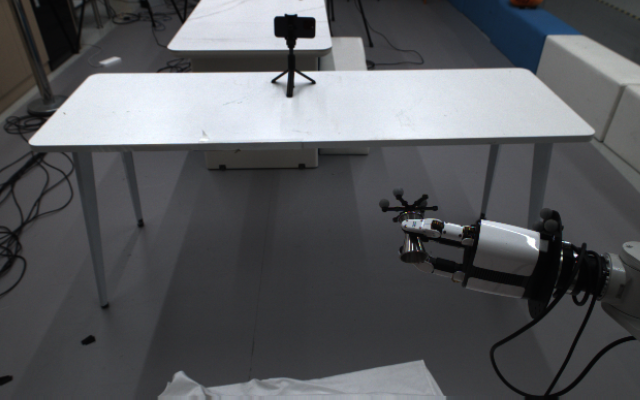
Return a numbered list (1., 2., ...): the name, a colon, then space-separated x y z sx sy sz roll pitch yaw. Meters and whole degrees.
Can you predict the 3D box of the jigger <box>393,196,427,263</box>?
1. jigger: 0.142 0.053 0.741 0.043 0.043 0.071 2 59 -1
